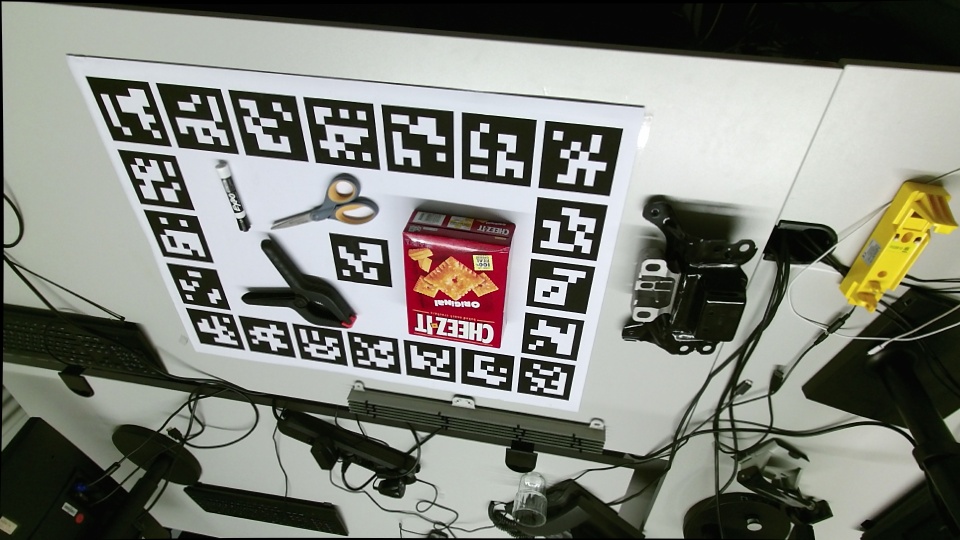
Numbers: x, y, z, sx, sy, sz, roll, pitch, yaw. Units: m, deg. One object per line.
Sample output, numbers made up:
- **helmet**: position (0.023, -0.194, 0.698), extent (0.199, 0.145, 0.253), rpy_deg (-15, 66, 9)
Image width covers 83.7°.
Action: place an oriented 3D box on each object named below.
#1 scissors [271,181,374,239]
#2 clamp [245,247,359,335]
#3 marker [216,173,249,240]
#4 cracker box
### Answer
- **scissors**: position (-0.263, -0.079, 0.867), extent (0.203, 0.016, 0.088), rpy_deg (-16, 123, 25)
- **clamp**: position (-0.319, 0.060, 0.991), extent (0.203, 0.036, 0.165), rpy_deg (32, 128, -12)
- **marker**: position (-0.404, -0.101, 0.879), extent (0.020, 0.019, 0.121), rpy_deg (4, 128, 8)
- **cracker box**: position (-0.040, 0.029, 0.871), extent (0.165, 0.072, 0.213), rpy_deg (8, 128, 5)
